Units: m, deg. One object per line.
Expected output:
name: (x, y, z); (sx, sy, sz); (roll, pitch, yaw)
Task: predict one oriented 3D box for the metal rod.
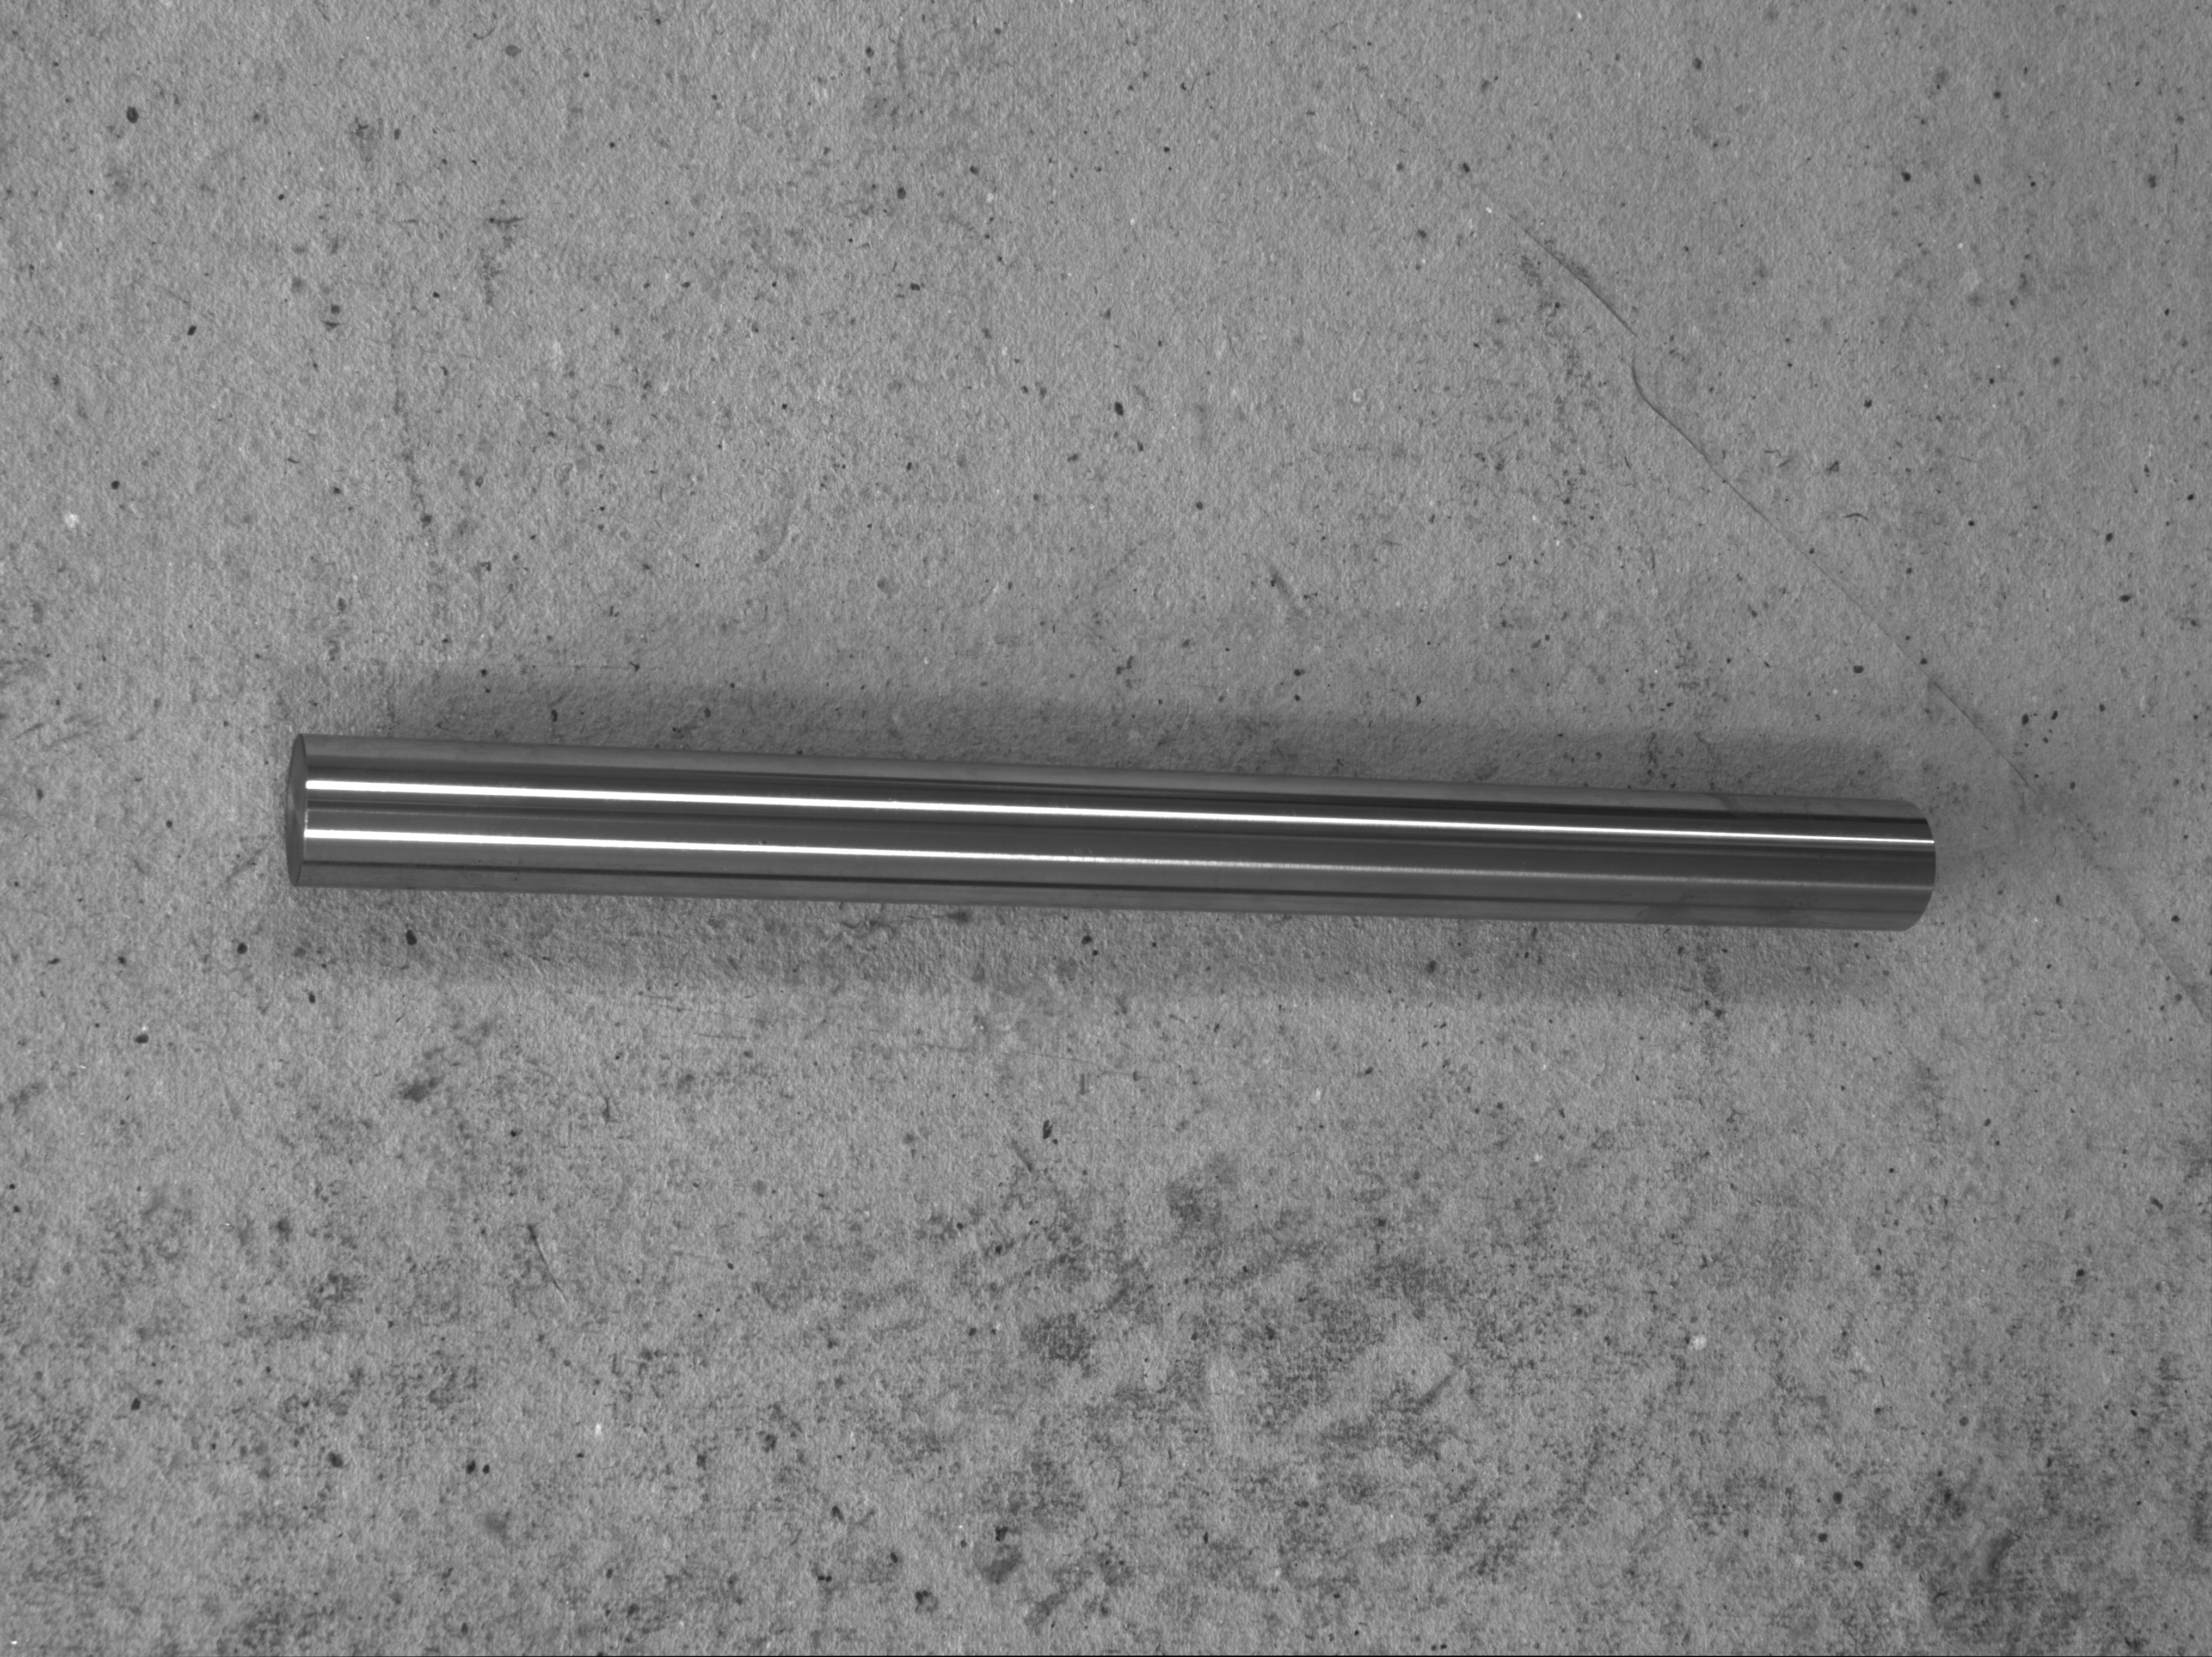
metal rod: (0.009, 0.002, 0.647); (0.301, 0.025, 0.025); (2, 89, -20)
